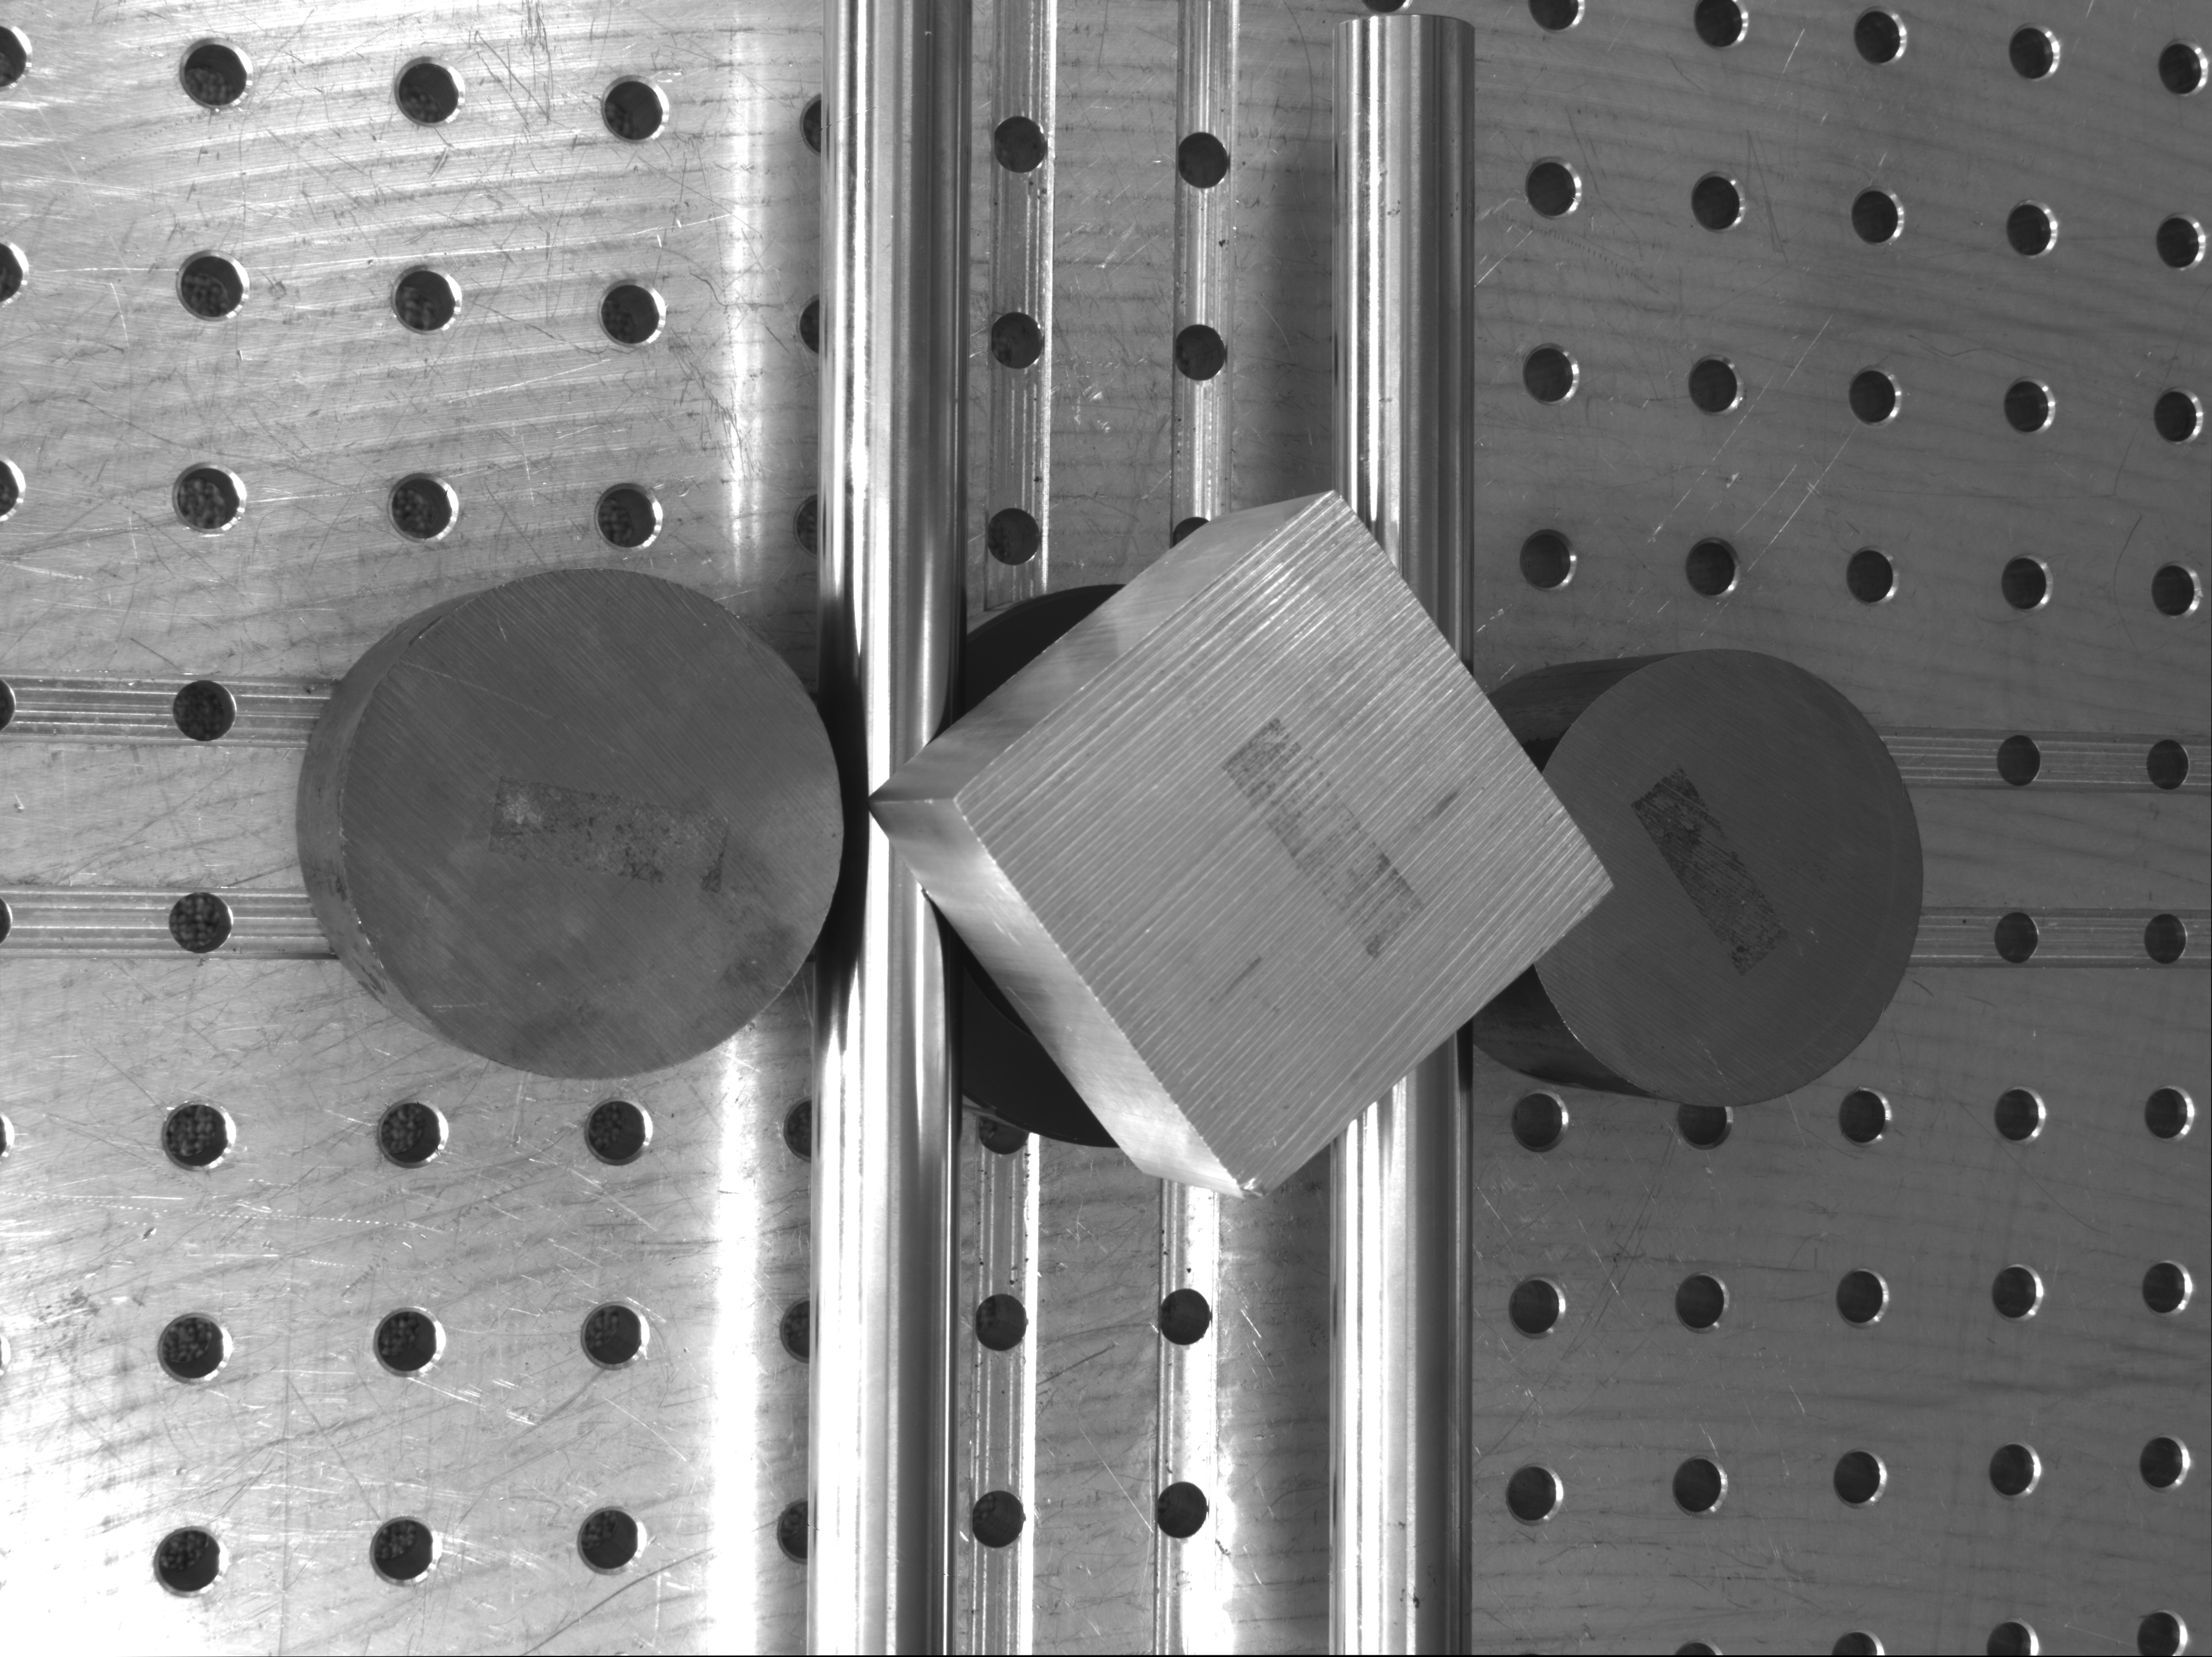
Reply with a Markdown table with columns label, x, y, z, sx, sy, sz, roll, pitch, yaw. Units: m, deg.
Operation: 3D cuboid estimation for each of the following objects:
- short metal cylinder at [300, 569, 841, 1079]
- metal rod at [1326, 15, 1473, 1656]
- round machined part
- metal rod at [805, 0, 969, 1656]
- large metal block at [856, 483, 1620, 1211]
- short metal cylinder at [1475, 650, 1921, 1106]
| label | x | y | z | sx | sy | sz | roll | pitch | yaw |
| --- | --- | --- | --- | --- | --- | --- | --- | --- | --- |
| short metal cylinder | -0.089 | -0.001 | 0.600 | 0.080 | 0.050 | 0.080 | 0 | 90 | -20 |
| metal rod | 0.051 | 0.010 | 0.642 | 0.025 | 0.025 | 0.300 | 0 | 90 | -20 |
| round machined part | 0.003 | 0.006 | 0.638 | 0.098 | 0.042 | 0.098 | 0 | 90 | -20 |
| metal rod | -0.036 | 0.012 | 0.610 | 0.025 | 0.025 | 0.300 | 1 | 90 | -20 |
| large metal block | 0.021 | 0.003 | 0.589 | 0.080 | 0.050 | 0.080 | -40 | 102 | -16 |
| short metal cylinder | 0.100 | 0.009 | 0.668 | 0.080 | 0.050 | 0.080 | 0 | 90 | -20 |
